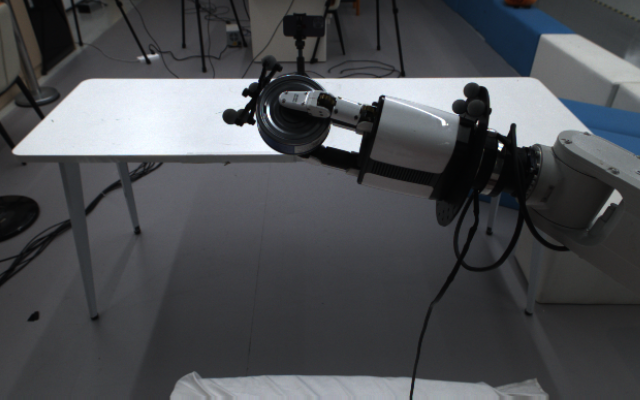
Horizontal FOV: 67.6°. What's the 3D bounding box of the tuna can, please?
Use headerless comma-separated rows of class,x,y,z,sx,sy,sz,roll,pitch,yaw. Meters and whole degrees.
tuna can,-0.025,-0.092,0.543,0.085,0.034,0.085,1,76,-6
